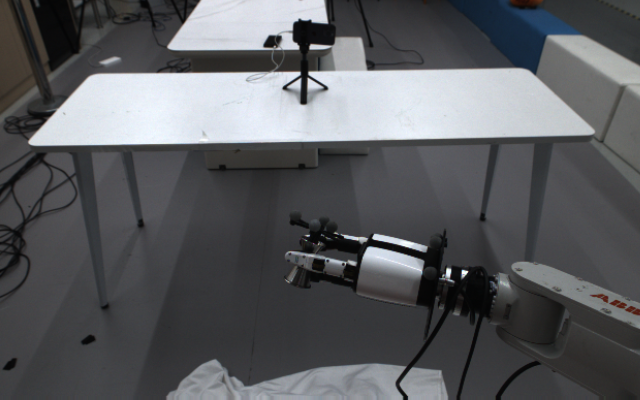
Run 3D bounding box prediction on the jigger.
[{"bbox_3d":[-0.023,0.089,0.710,0.043,0.071,0.043,22,6,-2],"label":"jigger"}]
